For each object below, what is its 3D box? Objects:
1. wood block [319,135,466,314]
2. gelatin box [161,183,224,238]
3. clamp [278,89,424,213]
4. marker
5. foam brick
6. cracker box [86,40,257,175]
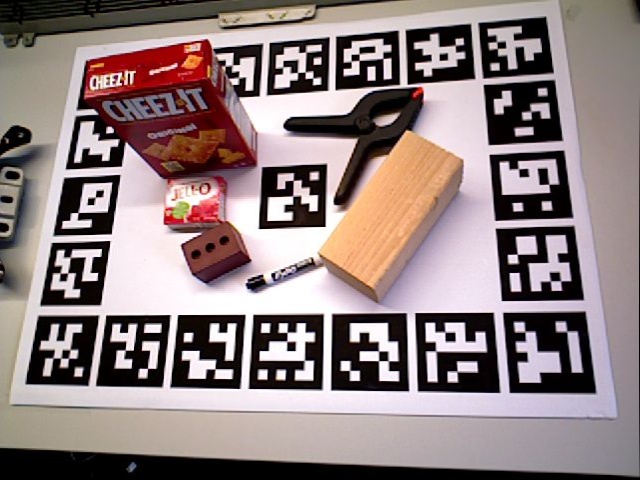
[{"bbox_3d":[0.094,-0.019,0.714,0.090,0.092,0.205,33,79,20],"label":"wood block"},{"bbox_3d":[-0.189,-0.044,0.805,0.089,0.030,0.073,-3,74,10],"label":"gelatin box"},{"bbox_3d":[0.062,-0.153,0.784,0.202,0.037,0.165,-32,71,1],"label":"clamp"},{"bbox_3d":[-0.062,0.059,0.752,0.121,0.020,0.019,-21,72,4],"label":"marker"},{"bbox_3d":[-0.152,0.028,0.763,0.078,0.051,0.052,-26,72,2],"label":"foam brick"},{"bbox_3d":[-0.188,-0.171,0.738,0.164,0.215,0.071,-5,70,6],"label":"cracker box"}]
